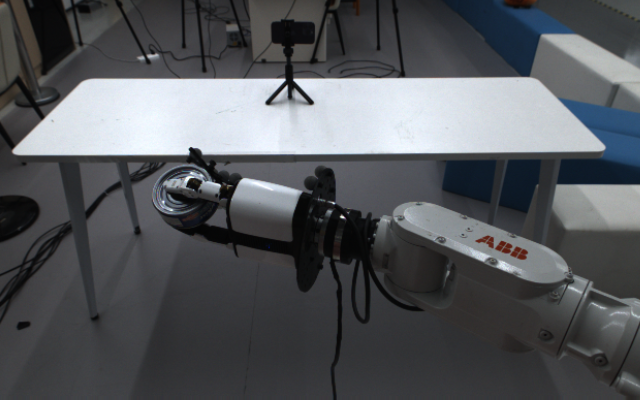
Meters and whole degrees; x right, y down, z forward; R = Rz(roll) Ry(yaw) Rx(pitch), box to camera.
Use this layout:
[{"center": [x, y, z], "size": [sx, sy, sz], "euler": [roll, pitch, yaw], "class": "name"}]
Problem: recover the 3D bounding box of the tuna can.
[{"center": [-0.181, -0.006, 0.657], "size": [0.085, 0.034, 0.085], "euler": [-4, 58, 6], "class": "tuna can"}]
